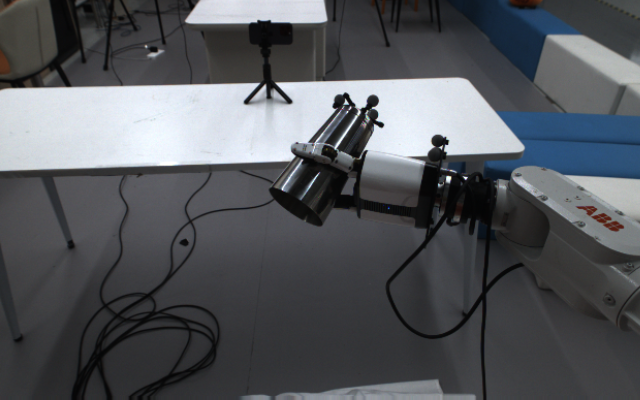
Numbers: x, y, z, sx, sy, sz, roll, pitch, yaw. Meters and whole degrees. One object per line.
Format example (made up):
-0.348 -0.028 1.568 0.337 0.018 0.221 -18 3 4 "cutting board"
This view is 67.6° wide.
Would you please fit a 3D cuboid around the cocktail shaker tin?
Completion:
0.010 -0.061 0.717 0.093 0.093 0.170 24 69 28 "cocktail shaker tin"
